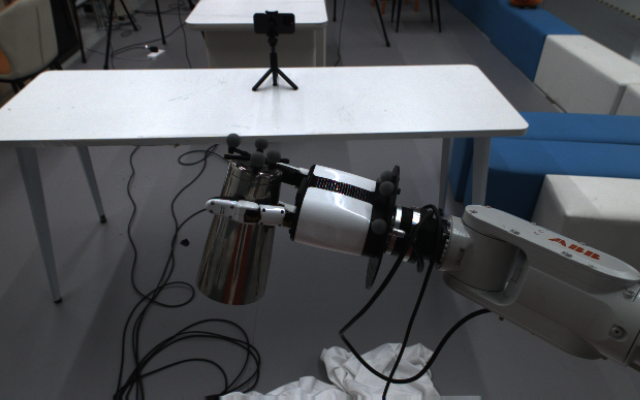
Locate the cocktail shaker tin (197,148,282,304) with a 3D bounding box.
[{"bbox_3d":[-0.096,0.033,0.617,0.093,0.170,0.093,14,19,-5],"label":"cocktail shaker tin"}]
